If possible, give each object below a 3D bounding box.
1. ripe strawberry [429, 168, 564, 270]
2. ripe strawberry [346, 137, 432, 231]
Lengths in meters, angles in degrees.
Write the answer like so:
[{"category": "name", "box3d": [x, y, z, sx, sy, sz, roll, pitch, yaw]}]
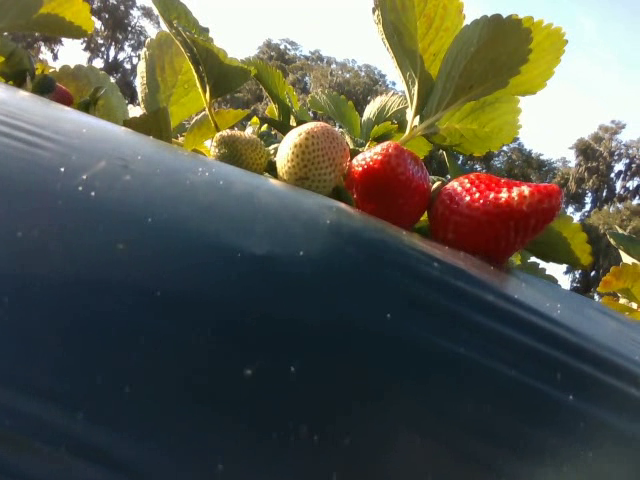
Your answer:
[{"category": "ripe strawberry", "box3d": [0.082, -0.011, 0.265, 0.056, 0.052, 0.067, -11, -5, -42]}, {"category": "ripe strawberry", "box3d": [0.031, -0.028, 0.264, 0.050, 0.044, 0.061, 40, -9, 16]}]
